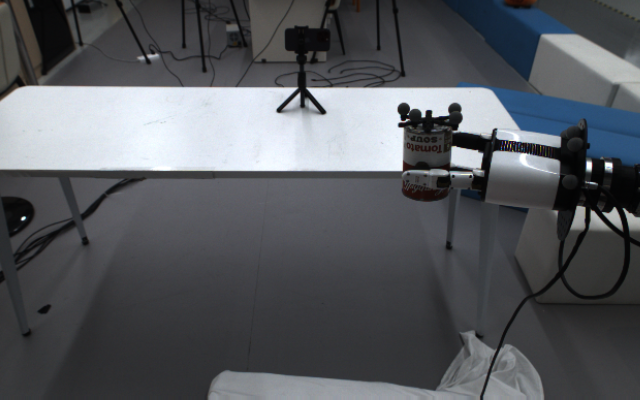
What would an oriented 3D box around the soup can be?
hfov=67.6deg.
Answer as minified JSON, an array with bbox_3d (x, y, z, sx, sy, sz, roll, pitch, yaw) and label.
[{"bbox_3d":[0.151,-0.060,0.682,0.067,0.101,0.067,-3,27,2],"label":"soup can"}]
